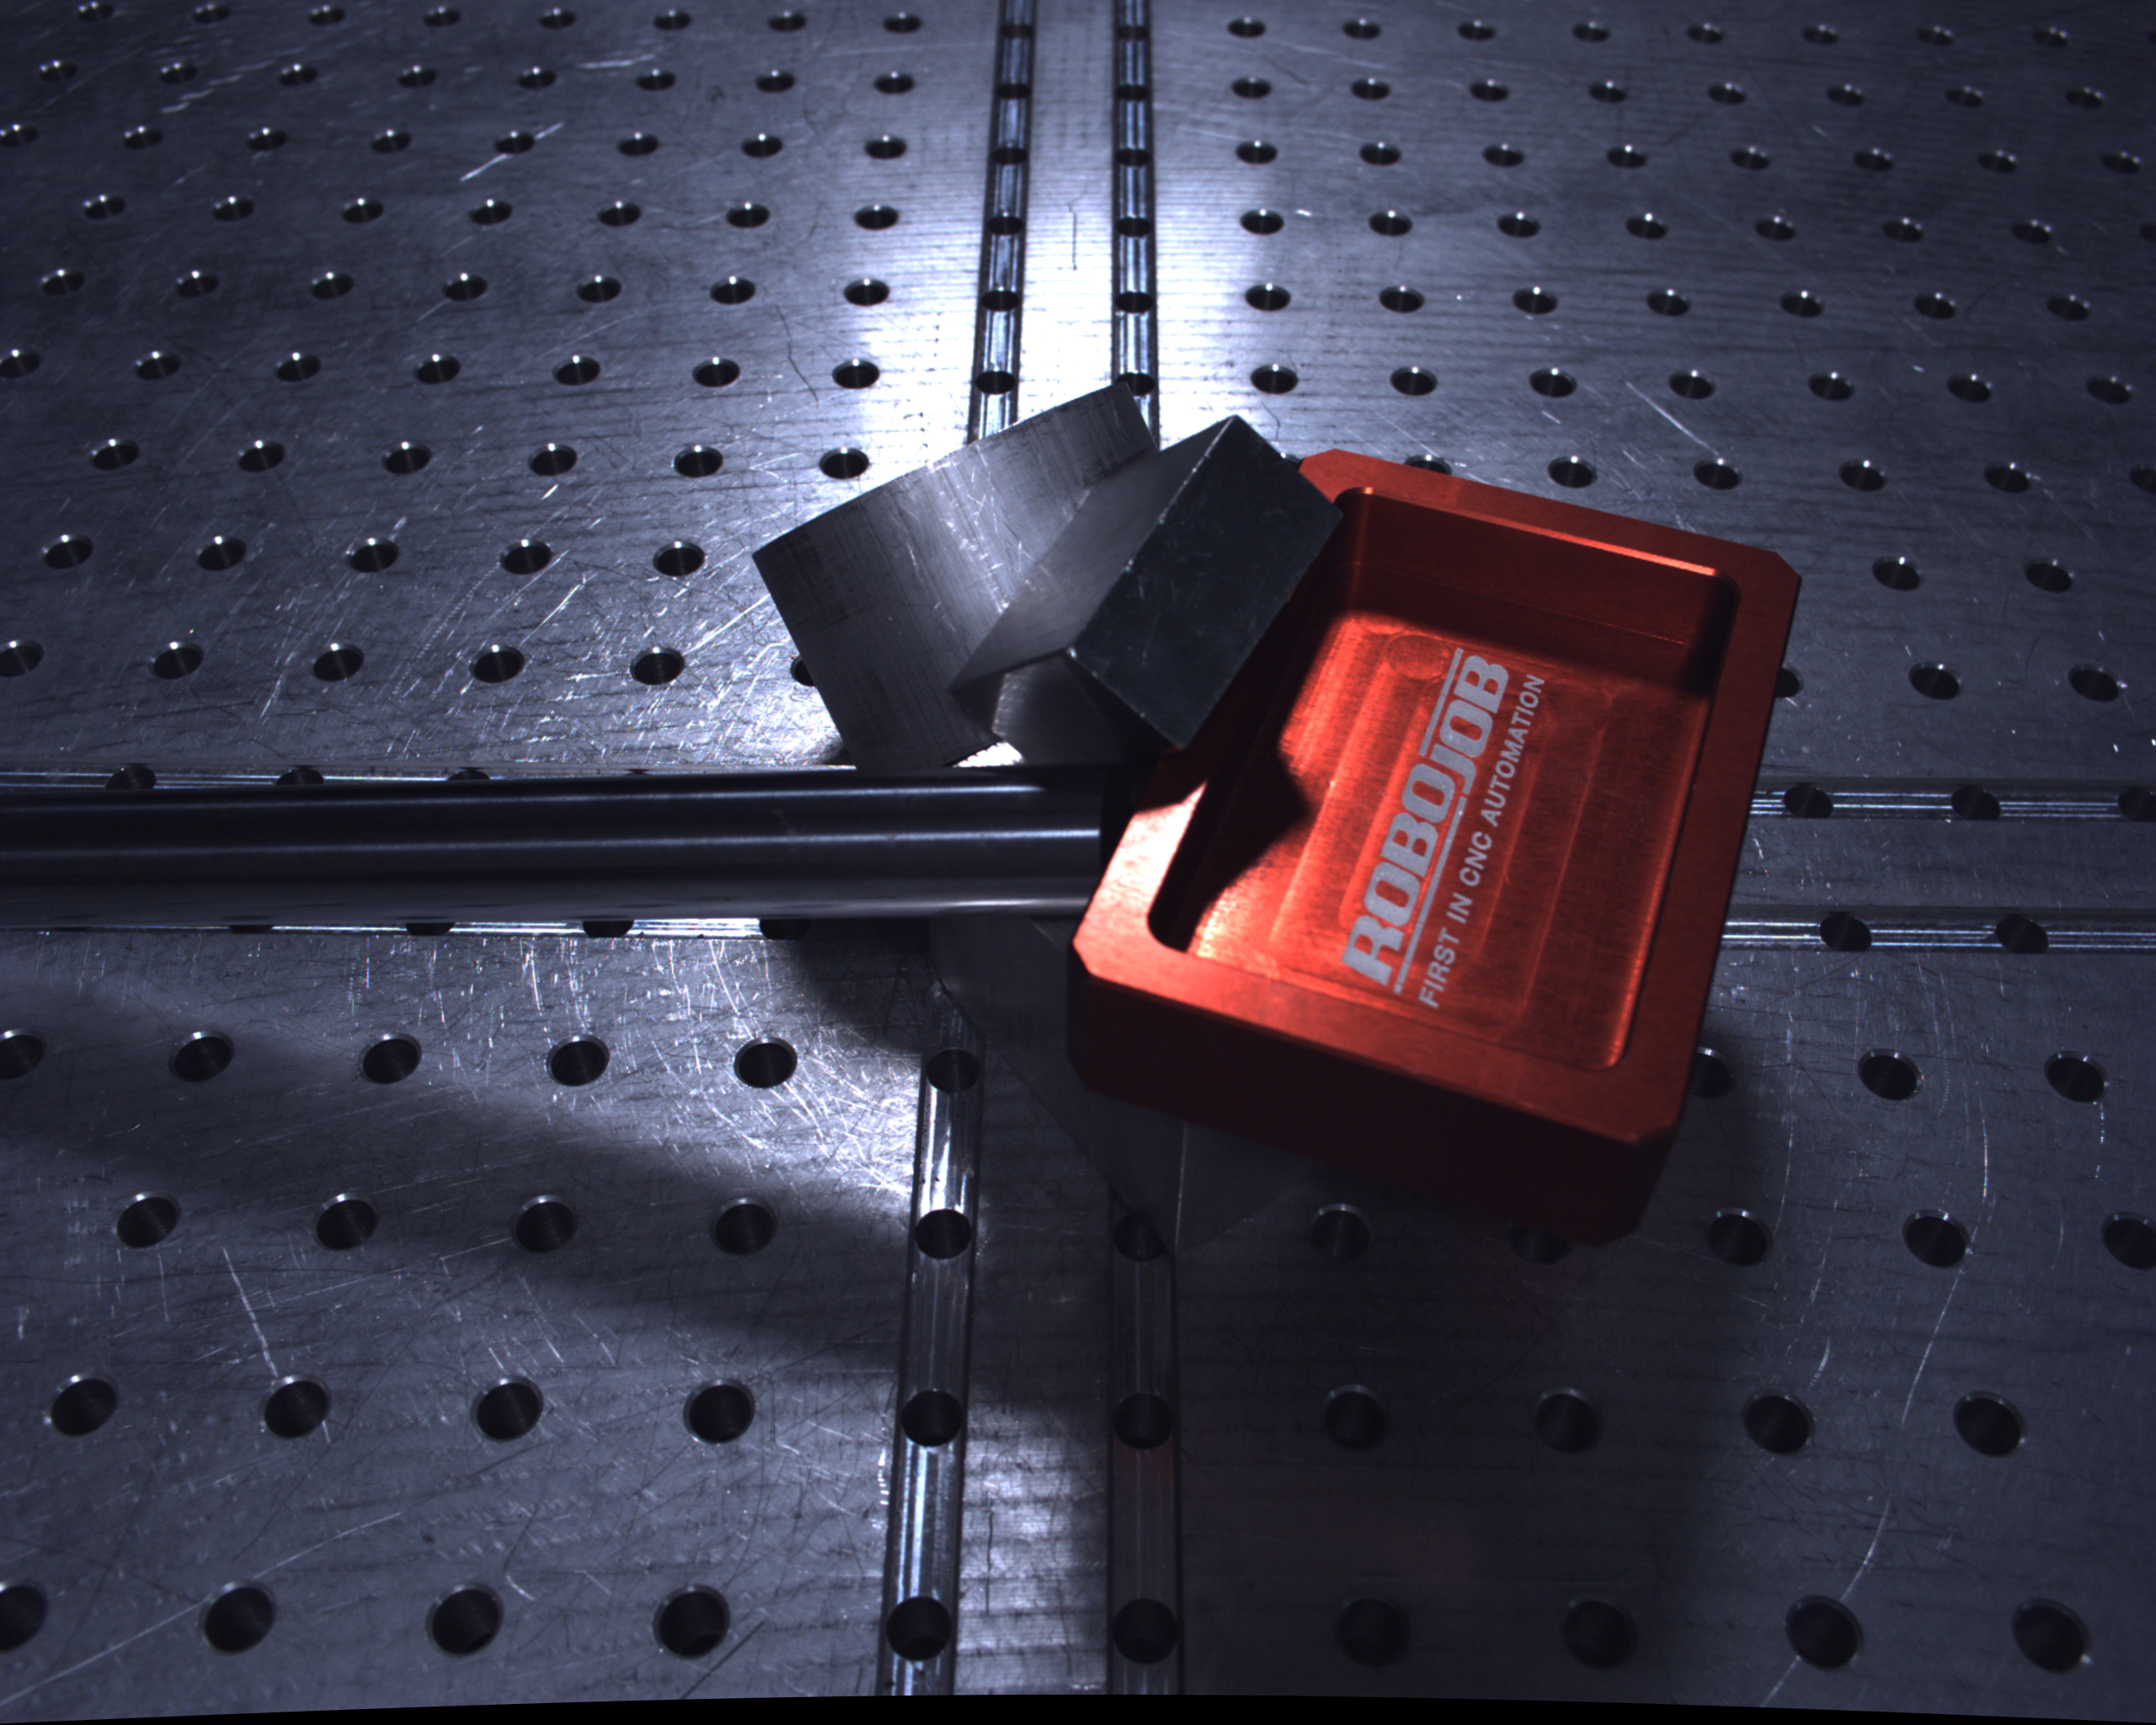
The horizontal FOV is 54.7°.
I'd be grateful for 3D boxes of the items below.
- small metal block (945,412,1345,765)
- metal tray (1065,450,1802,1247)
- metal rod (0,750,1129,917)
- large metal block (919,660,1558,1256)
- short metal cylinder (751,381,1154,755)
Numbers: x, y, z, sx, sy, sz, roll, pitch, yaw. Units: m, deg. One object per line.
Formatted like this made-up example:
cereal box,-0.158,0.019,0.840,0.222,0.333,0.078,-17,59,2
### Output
small metal block,0.010,-0.043,0.350,0.025,0.050,0.050,40,72,-18
metal tray,0.062,-0.009,0.344,0.090,0.030,0.130,16,51,13
metal rod,-0.141,-0.003,0.370,0.301,0.025,0.025,-1,49,13
large metal block,0.026,0.010,0.381,0.081,0.050,0.080,-28,56,-22
short metal cylinder,-0.017,-0.054,0.409,0.081,0.080,0.050,-28,99,-22
